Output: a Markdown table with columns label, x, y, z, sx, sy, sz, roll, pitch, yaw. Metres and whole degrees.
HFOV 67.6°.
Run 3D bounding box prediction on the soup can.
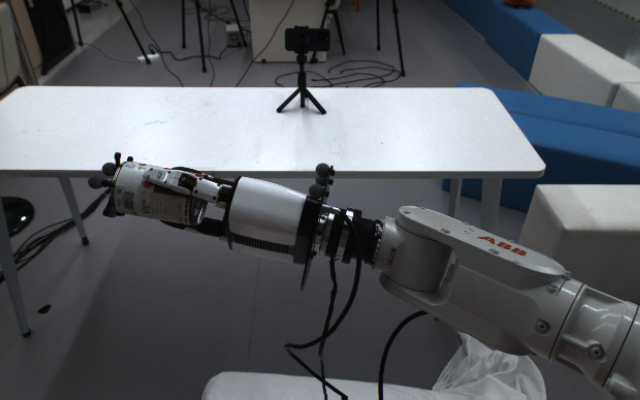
| label | x | y | z | sx | sy | sz | roll | pitch | yaw |
| --- | --- | --- | --- | --- | --- | --- | --- | --- | --- |
| soup can | -0.196 | -0.006 | 0.605 | 0.101 | 0.067 | 0.067 | 10 | 35 | -1 |
